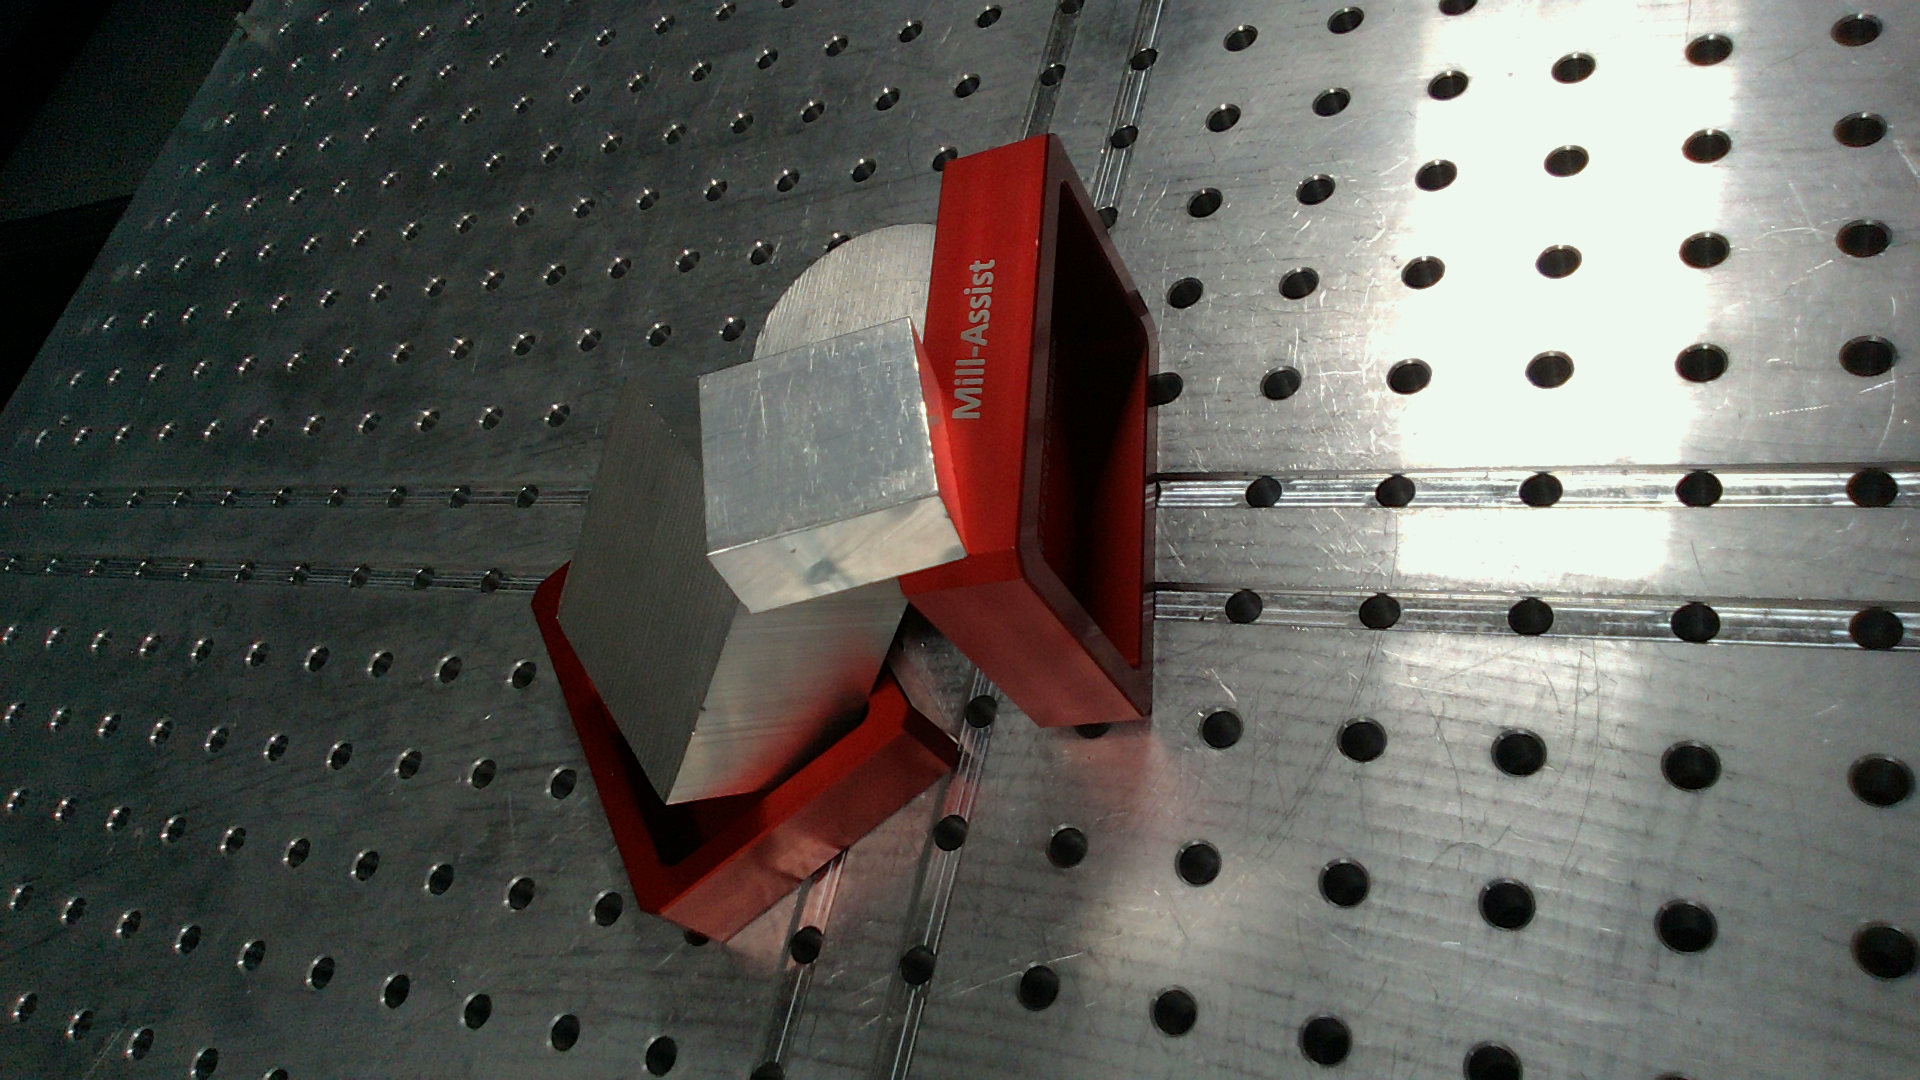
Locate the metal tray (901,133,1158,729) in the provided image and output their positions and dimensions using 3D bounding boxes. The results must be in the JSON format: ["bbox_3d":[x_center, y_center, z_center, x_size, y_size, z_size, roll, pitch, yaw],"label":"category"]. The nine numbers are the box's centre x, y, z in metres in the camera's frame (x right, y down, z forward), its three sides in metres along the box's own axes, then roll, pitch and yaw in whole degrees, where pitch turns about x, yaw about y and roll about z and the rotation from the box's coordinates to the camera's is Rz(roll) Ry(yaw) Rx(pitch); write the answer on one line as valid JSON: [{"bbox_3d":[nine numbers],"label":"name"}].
[{"bbox_3d":[0.023,-0.028,0.359,0.030,0.090,0.130,-9,58,24],"label":"metal tray"}]

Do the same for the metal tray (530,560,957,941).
[{"bbox_3d":[-0.069,0.038,0.406,0.090,0.030,0.130,-37,51,4],"label":"metal tray"}]

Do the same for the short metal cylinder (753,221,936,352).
[{"bbox_3d":[-0.017,-0.049,0.420,0.080,0.050,0.080,-14,56,21],"label":"short metal cylinder"}]

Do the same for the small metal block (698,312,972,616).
[{"bbox_3d":[-0.028,-0.017,0.300,0.050,0.025,0.050,-15,55,7],"label":"small metal block"}]

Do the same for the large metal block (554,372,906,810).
[{"bbox_3d":[-0.061,0.011,0.366,0.080,0.050,0.080,46,124,39],"label":"large metal block"}]
